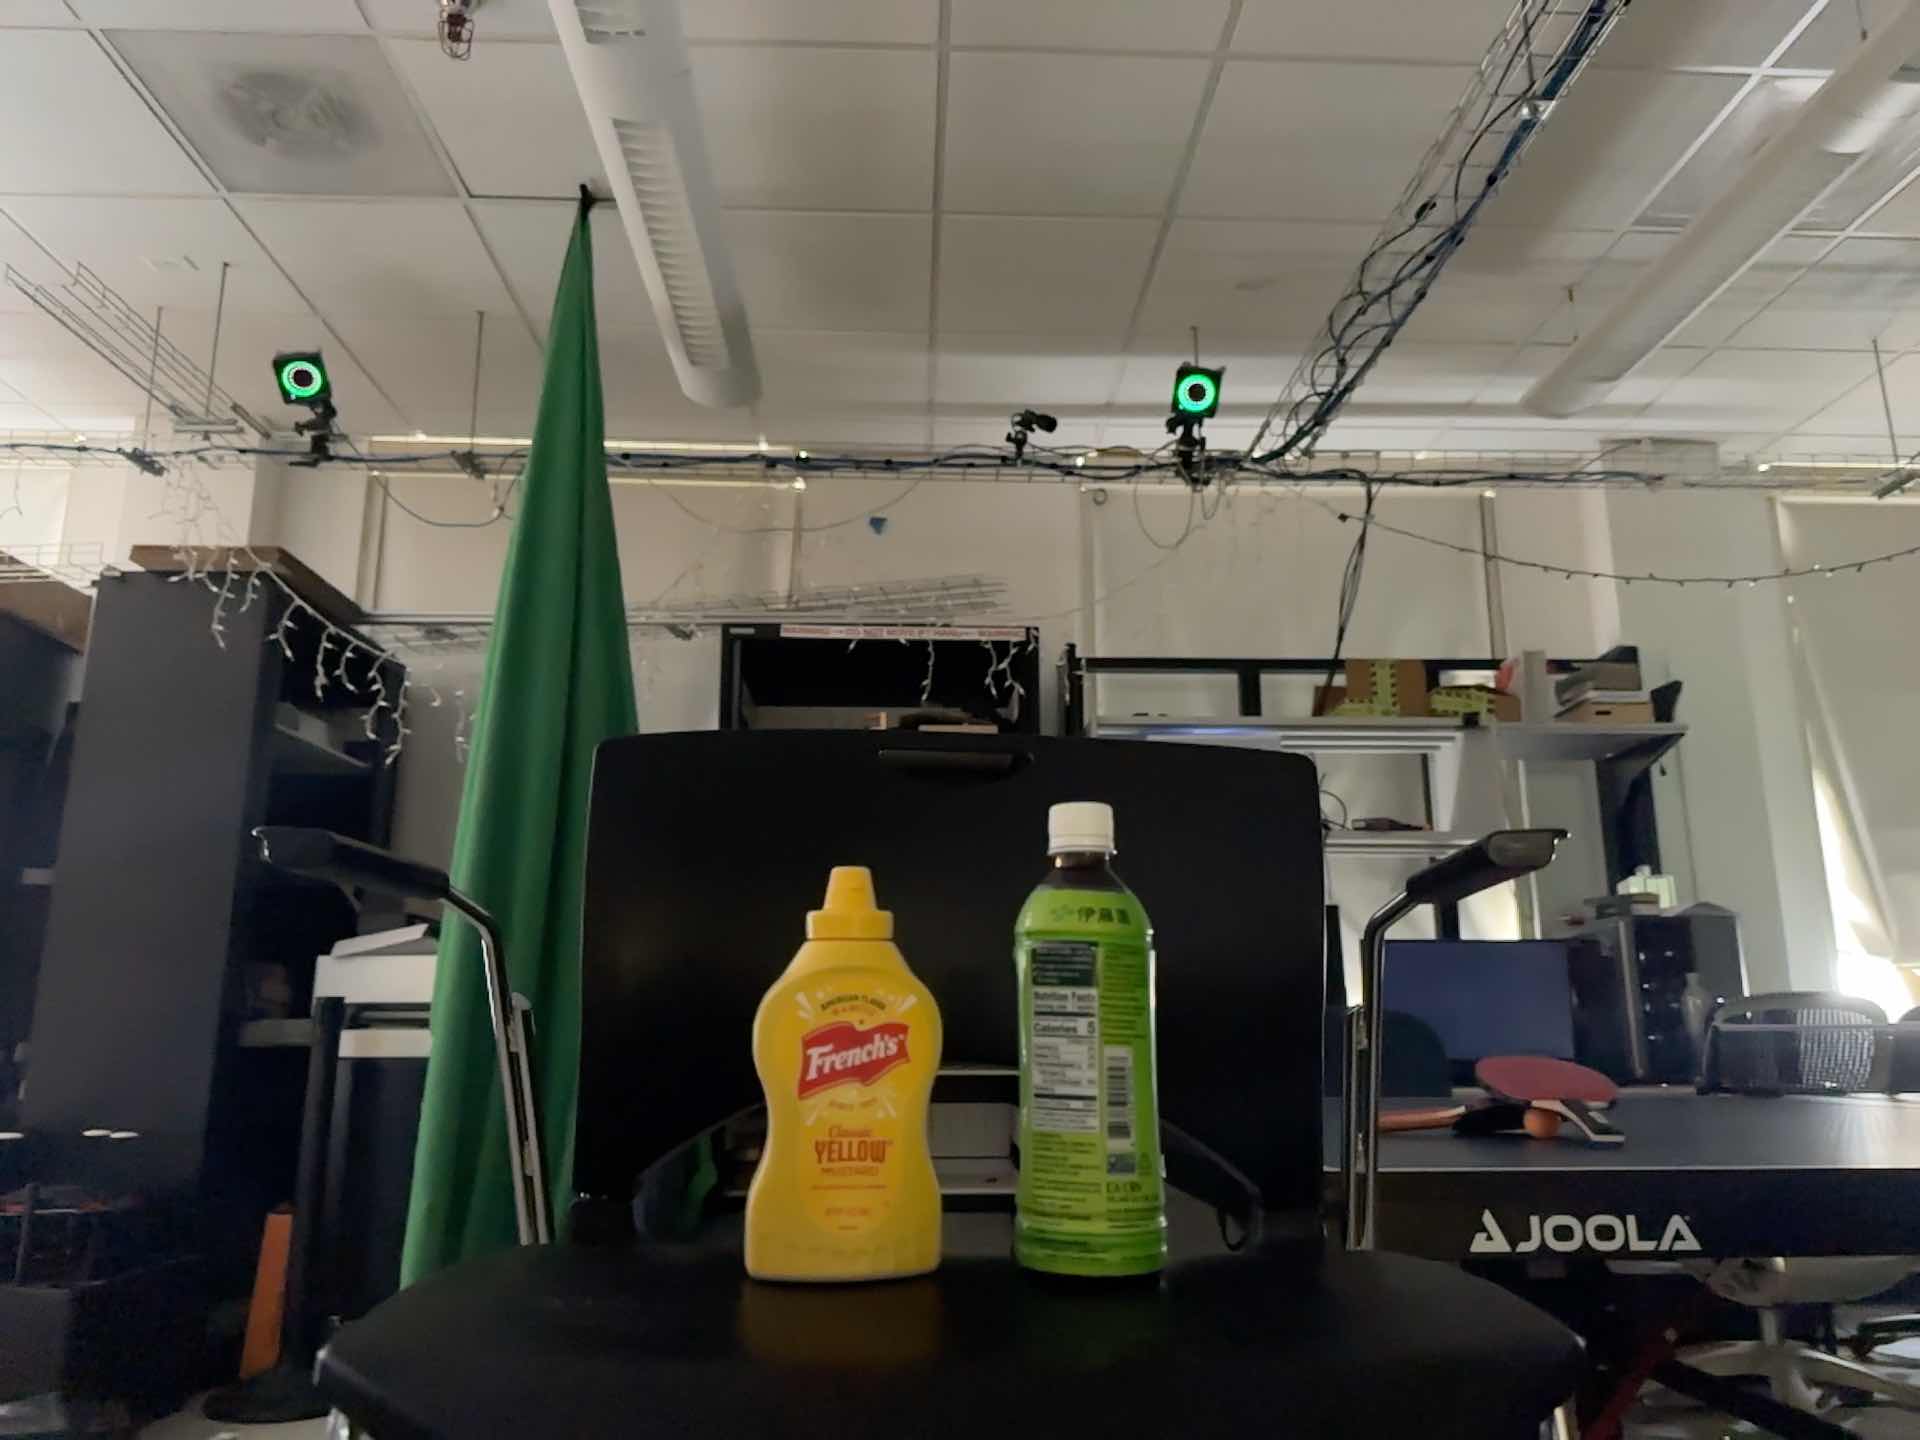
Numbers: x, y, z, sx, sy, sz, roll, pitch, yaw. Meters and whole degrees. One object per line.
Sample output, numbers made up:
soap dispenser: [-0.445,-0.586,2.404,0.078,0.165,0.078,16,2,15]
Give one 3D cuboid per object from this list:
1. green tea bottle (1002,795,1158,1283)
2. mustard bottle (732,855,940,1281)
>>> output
green tea bottle: [0.054,0.141,0.619,0.073,0.212,0.073,2,-9,0]
mustard bottle: [-0.055,0.154,0.616,0.092,0.184,0.054,1,-10,-6]
